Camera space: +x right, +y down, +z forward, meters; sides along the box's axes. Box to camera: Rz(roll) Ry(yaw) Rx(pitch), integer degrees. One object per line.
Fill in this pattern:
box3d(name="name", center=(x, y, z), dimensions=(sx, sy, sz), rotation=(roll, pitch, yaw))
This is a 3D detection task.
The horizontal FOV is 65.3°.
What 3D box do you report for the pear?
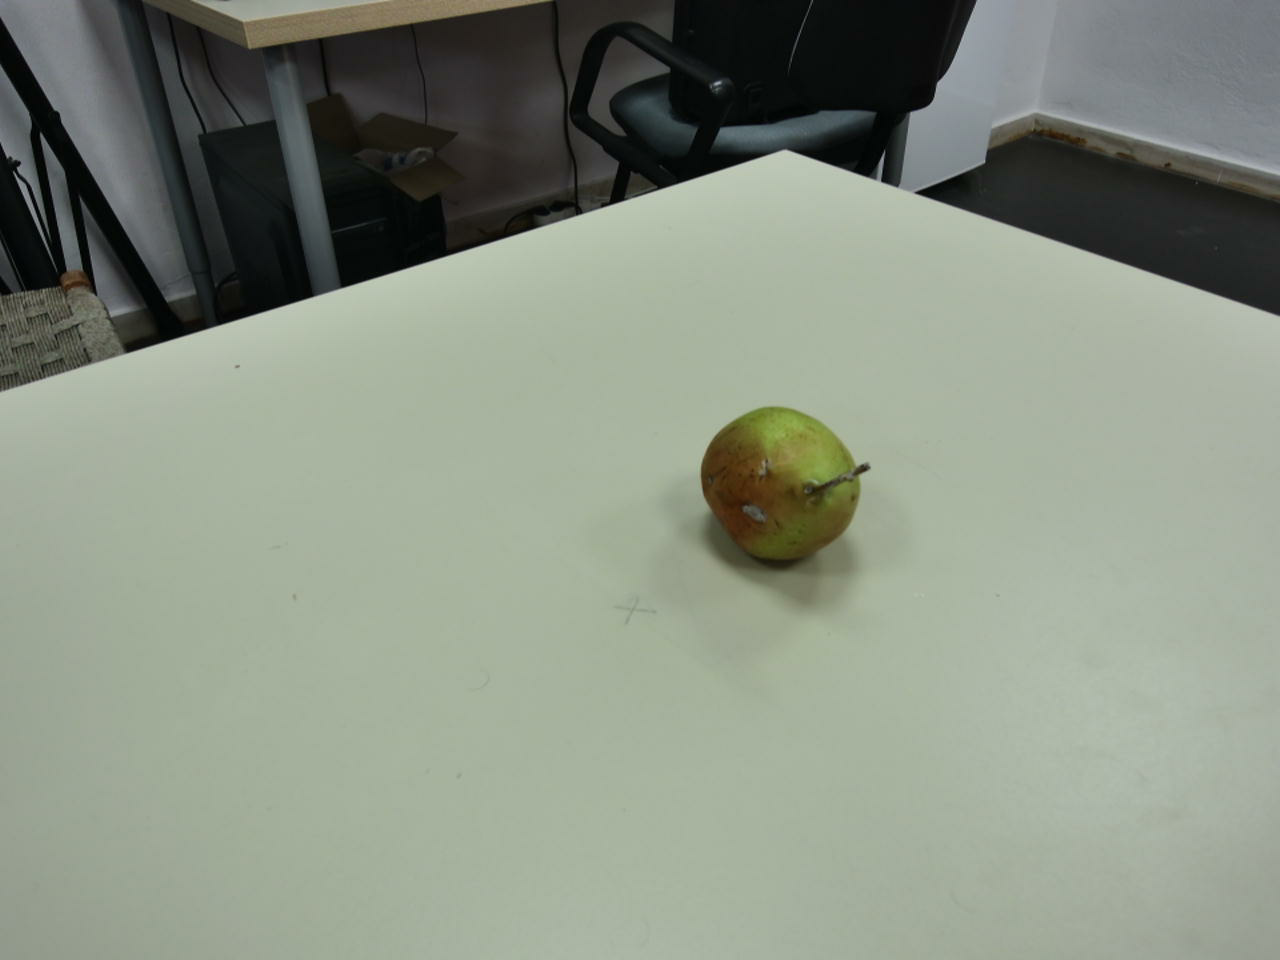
box3d(name="pear", center=(0.058, 0.000, 0.422), dimensions=(0.068, 0.069, 0.070), rotation=(6, 35, 12))
